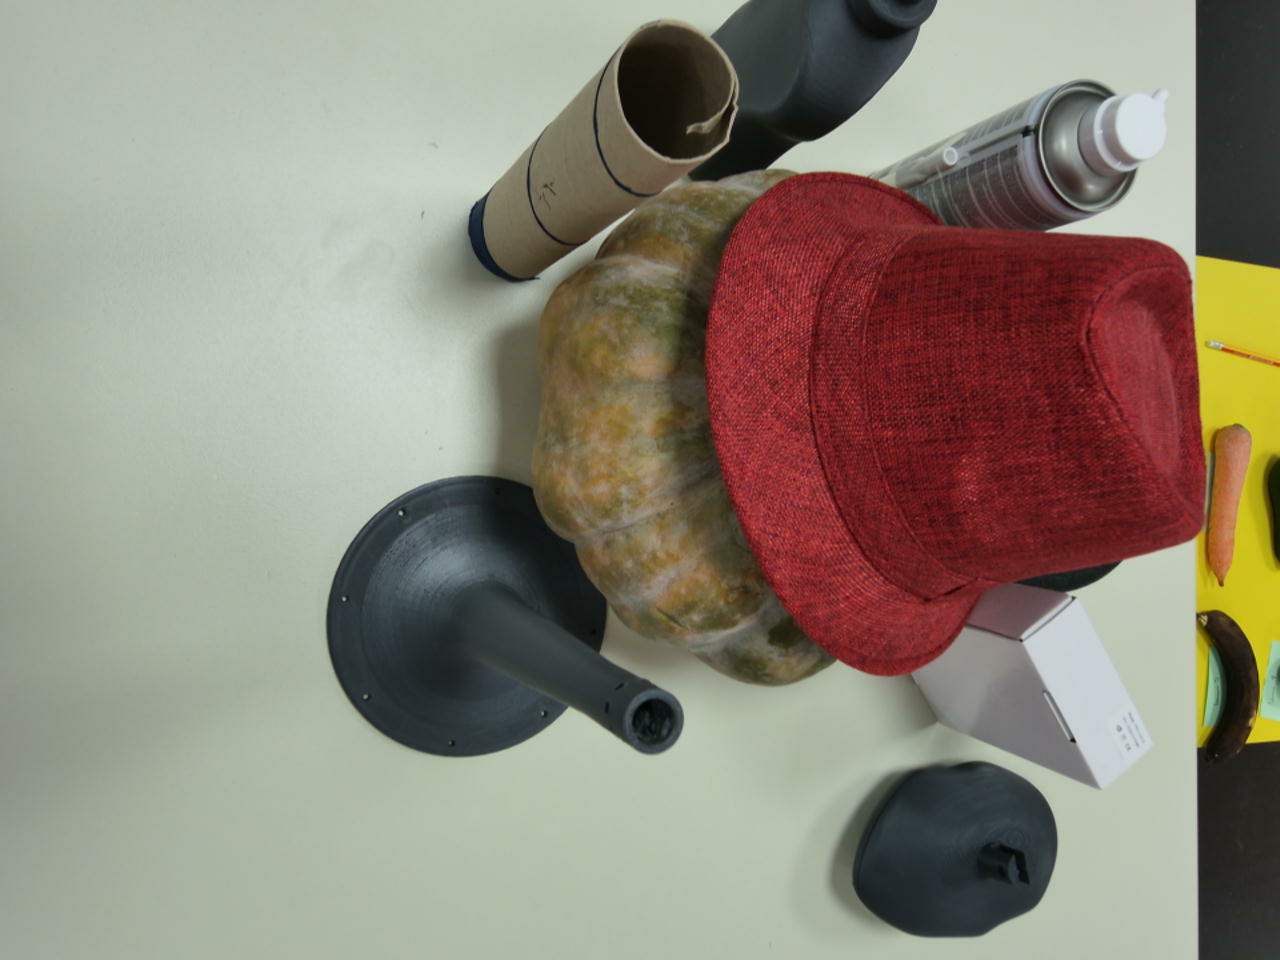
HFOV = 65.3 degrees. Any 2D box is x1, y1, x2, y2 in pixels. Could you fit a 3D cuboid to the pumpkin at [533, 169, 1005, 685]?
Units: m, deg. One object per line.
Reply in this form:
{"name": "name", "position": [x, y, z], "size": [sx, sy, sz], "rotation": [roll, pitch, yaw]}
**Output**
{"name": "pumpkin", "position": [0.063, -0.032, 0.506], "size": [0.252, 0.169, 0.252], "rotation": [0, 91, -22]}
